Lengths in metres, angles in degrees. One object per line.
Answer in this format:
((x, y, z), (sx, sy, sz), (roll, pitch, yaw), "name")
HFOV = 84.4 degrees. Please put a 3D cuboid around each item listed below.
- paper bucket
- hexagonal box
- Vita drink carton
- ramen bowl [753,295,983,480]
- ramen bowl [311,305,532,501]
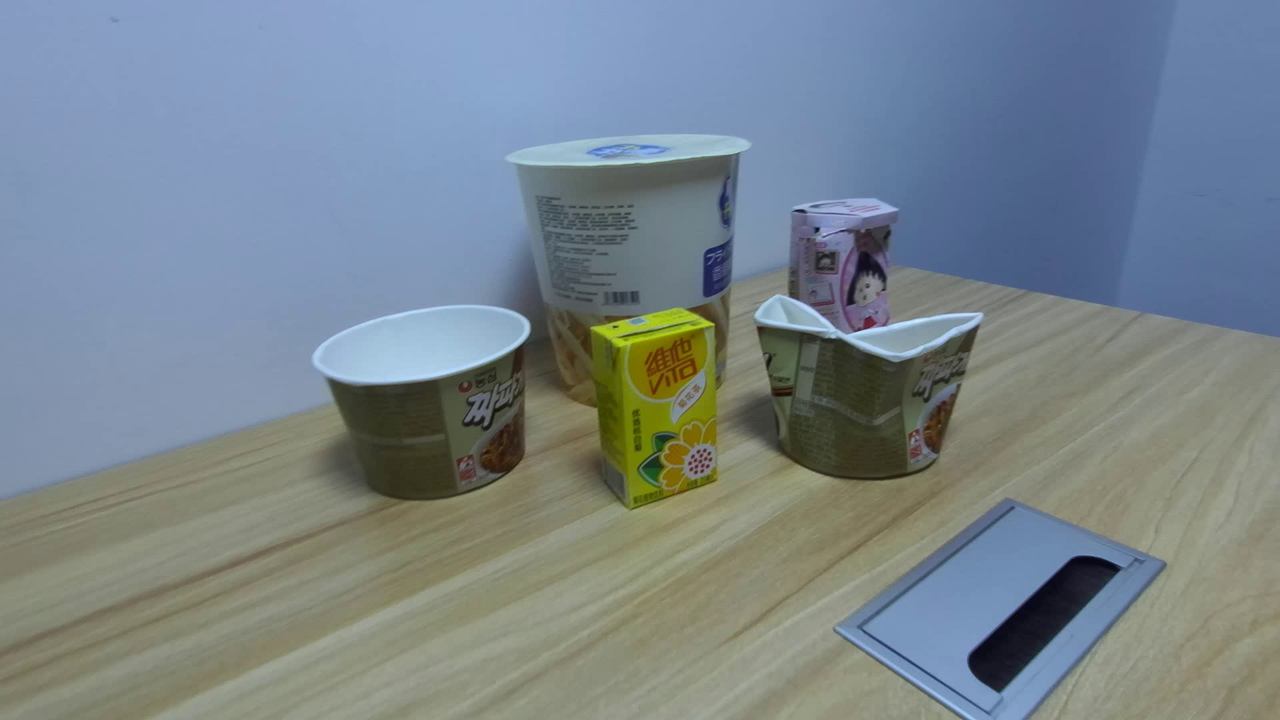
((-0.001, -0.075, 0.581), (0.198, 0.195, 0.198), (-3, 23, 2), "paper bucket")
((0.173, -0.067, 0.614), (0.091, 0.134, 0.090), (-1, 19, 6), "hexagonal box")
((0.011, 0.029, 0.436), (0.067, 0.109, 0.043), (-14, 25, -23), "Vita drink carton")
((0.143, 0.011, 0.477), (0.112, 0.093, 0.127), (-23, 30, -38), "ramen bowl")
((-0.140, 0.028, 0.487), (0.140, 0.095, 0.140), (-2, 23, 1), "ramen bowl")
